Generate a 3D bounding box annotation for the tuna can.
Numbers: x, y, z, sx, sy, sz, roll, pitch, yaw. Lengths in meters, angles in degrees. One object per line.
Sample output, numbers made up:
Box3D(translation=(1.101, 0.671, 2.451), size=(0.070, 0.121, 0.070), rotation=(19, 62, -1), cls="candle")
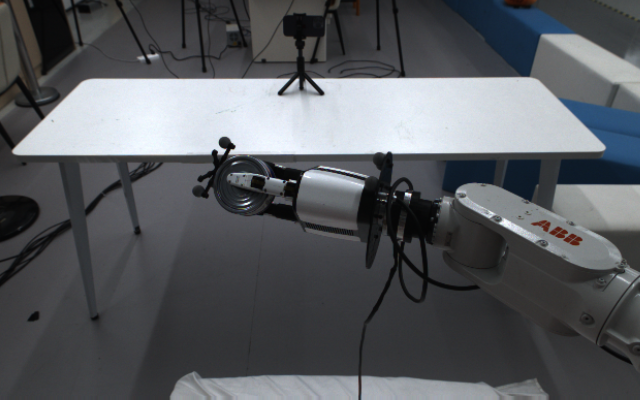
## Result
Box3D(translation=(-0.104, -0.017, 0.684), size=(0.085, 0.085, 0.034), rotation=(9, -3, 10), cls="tuna can")
